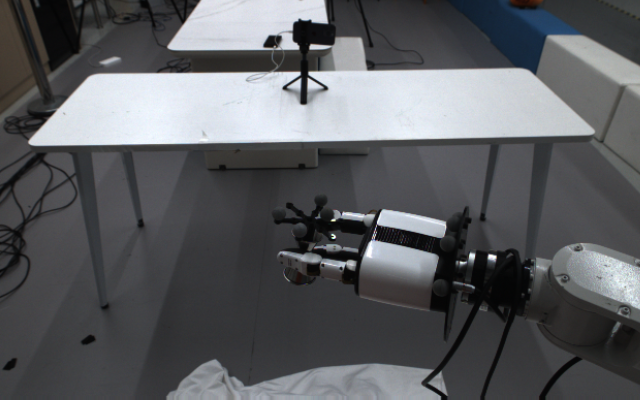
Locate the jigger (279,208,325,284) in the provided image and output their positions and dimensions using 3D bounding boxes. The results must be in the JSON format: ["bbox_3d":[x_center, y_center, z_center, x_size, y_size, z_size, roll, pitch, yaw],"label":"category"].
[{"bbox_3d":[-0.021,0.070,0.620,0.043,0.071,0.043,9,30,-5],"label":"jigger"}]
